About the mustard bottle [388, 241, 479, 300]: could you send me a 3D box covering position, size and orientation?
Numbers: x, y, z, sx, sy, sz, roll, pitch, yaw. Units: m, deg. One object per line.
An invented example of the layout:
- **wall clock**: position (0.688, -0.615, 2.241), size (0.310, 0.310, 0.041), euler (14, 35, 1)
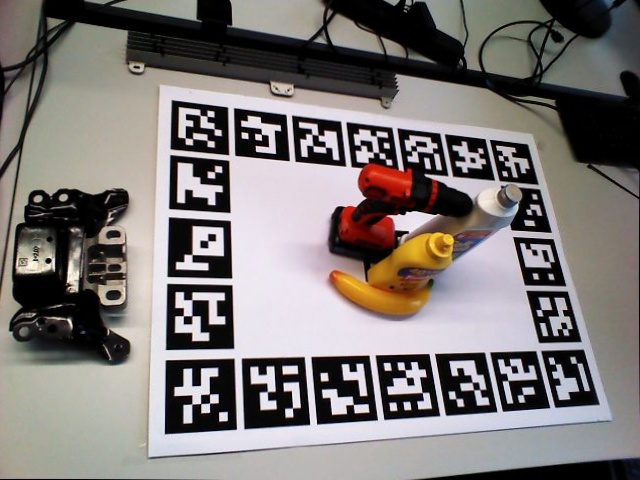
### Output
- **mustard bottle**: position (0.189, 0.045, 0.819), size (0.096, 0.193, 0.058), euler (4, 68, -19)

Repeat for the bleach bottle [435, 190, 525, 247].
- **bleach bottle**: position (0.260, -0.013, 0.841), size (0.102, 0.252, 0.067), euler (6, 62, -17)

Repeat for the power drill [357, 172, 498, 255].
- **power drill**: position (0.154, -0.031, 0.814), size (0.184, 0.188, 0.057), euler (16, 64, -15)

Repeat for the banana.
- **banana**: position (0.144, 0.102, 0.879), size (0.197, 0.039, 0.074), euler (8, 68, -14)
